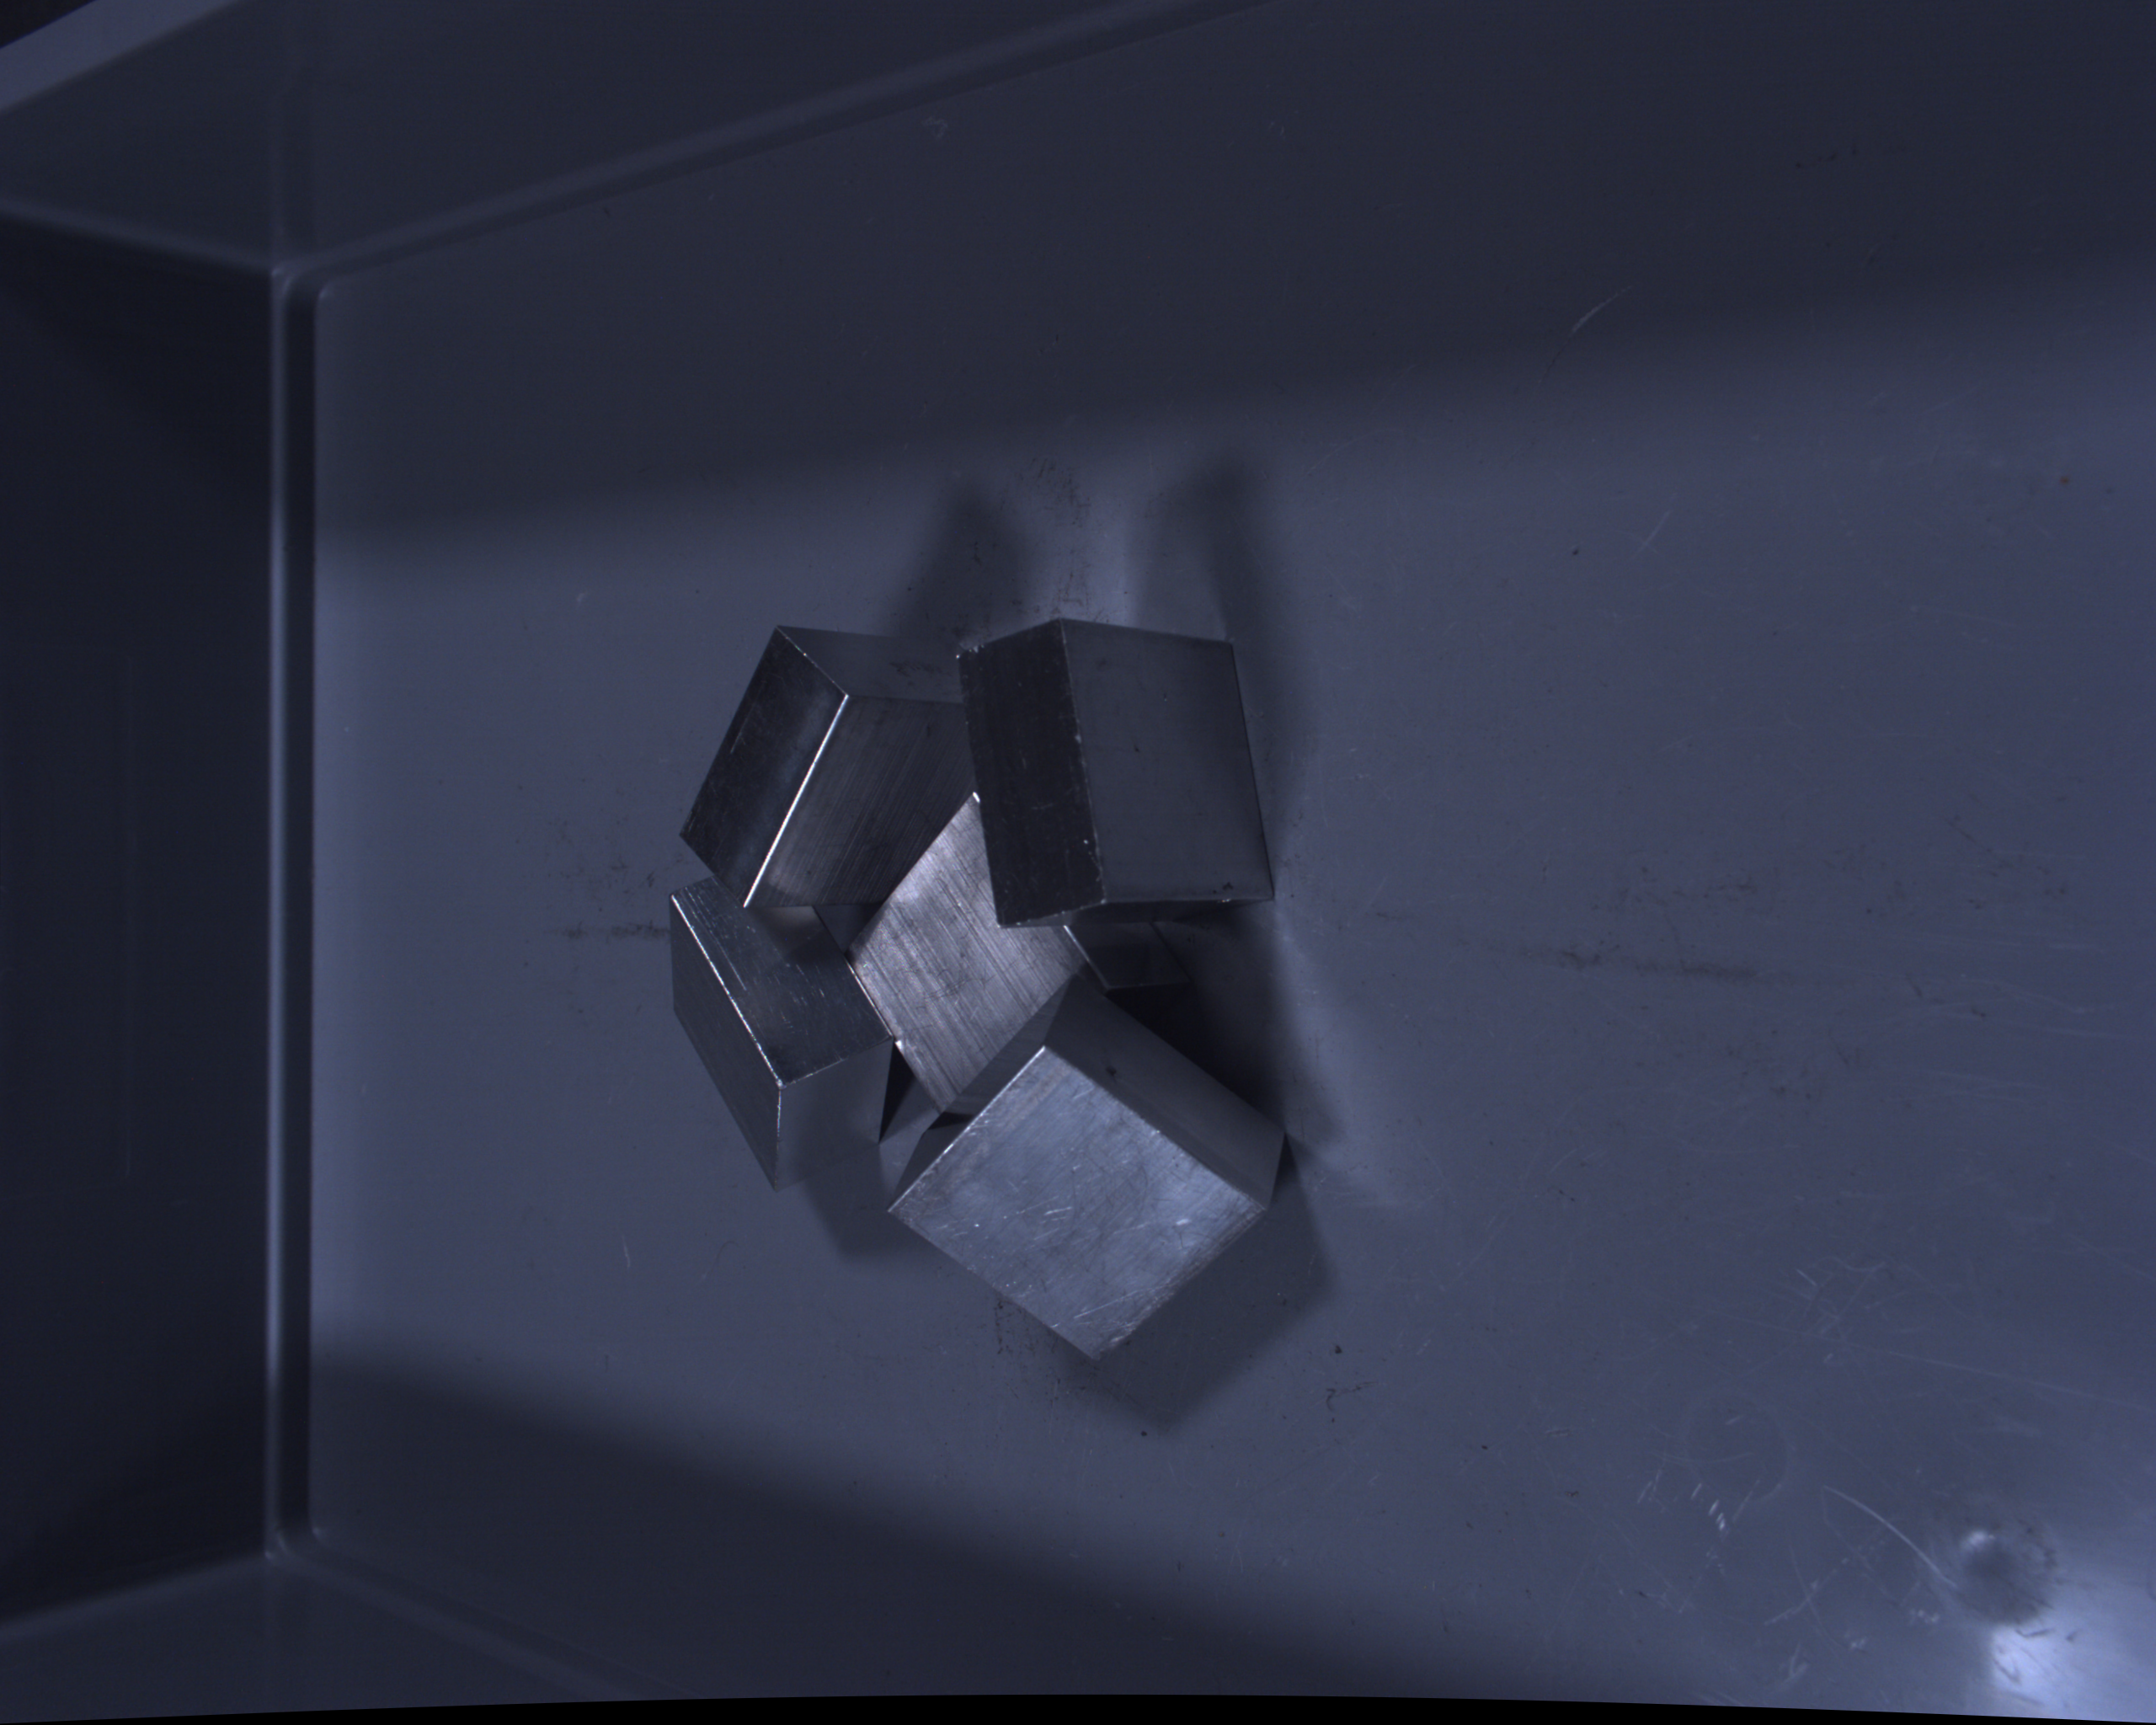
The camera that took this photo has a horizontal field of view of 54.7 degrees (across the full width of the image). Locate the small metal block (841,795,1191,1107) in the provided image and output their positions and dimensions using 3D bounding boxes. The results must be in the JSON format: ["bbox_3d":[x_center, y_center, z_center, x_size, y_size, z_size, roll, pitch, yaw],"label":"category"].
[{"bbox_3d":[-0.014,0.021,0.413,0.050,0.025,0.050,-49,61,28],"label":"small metal block"}]

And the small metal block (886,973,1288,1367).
[{"bbox_3d":[0.002,0.057,0.384,0.050,0.025,0.050,38,119,-8],"label":"small metal block"}]

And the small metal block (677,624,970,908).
[{"bbox_3d":[-0.045,-0.019,0.423,0.025,0.050,0.050,44,116,31],"label":"small metal block"}]

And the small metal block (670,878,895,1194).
[{"bbox_3d":[-0.063,0.034,0.439,0.050,0.025,0.050,56,155,24],"label":"small metal block"}]

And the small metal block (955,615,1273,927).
[{"bbox_3d":[0.007,-0.015,0.380,0.025,0.050,0.050,-14,81,38],"label":"small metal block"}]
